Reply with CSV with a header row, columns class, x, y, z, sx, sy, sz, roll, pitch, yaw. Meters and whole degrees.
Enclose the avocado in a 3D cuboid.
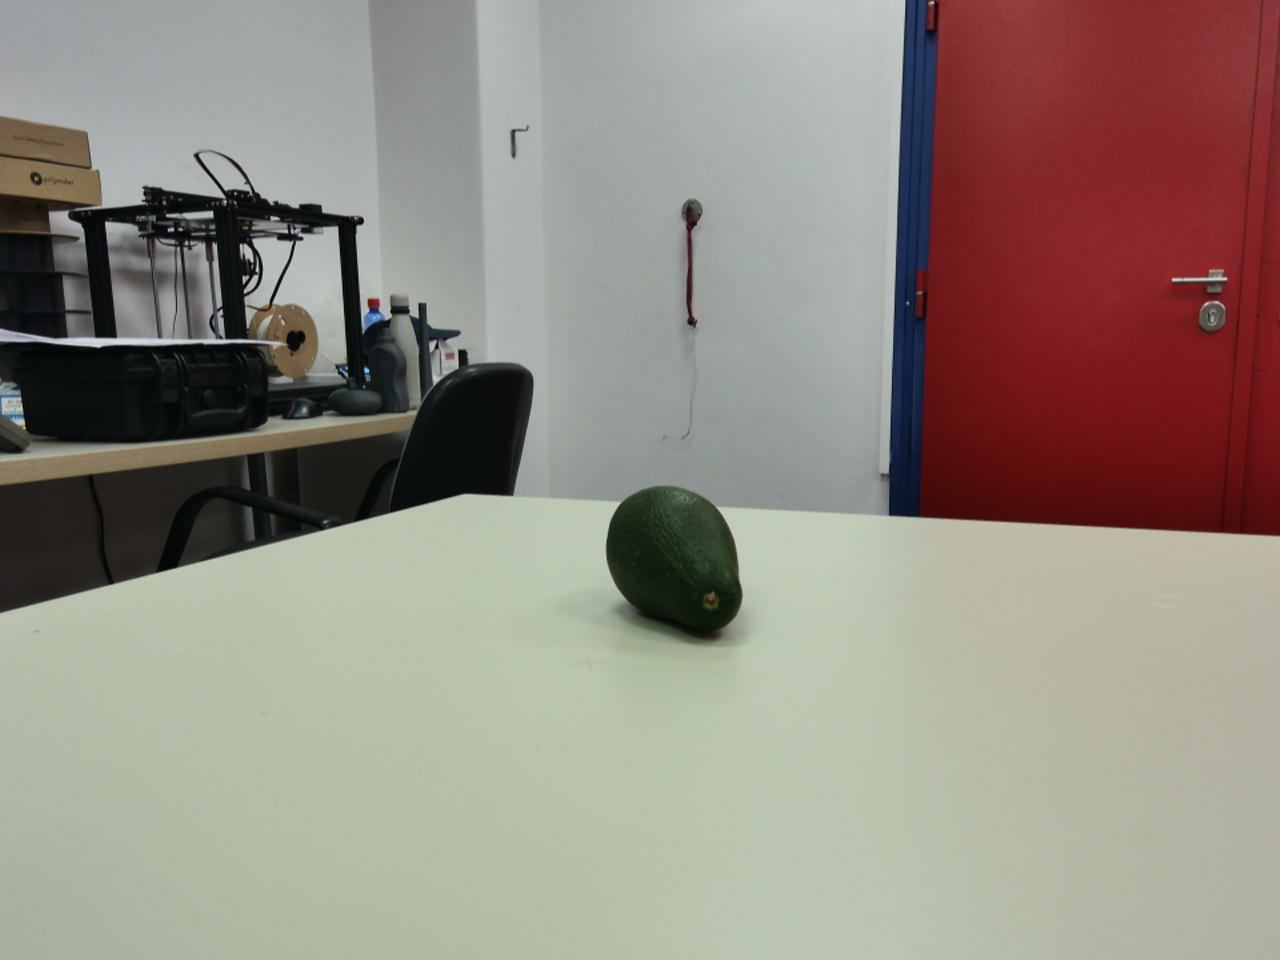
class,x,y,z,sx,sy,sz,roll,pitch,yaw
avocado,0.017,0.040,0.540,0.072,0.071,0.109,1,6,1
